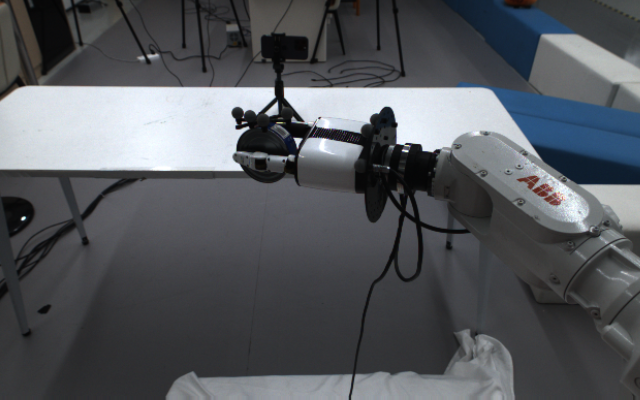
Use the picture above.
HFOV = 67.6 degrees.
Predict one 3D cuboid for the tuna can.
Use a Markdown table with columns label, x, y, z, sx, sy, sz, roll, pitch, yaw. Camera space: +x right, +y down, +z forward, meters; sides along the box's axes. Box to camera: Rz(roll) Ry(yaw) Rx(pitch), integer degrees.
| label | x | y | z | sx | sy | sz | roll | pitch | yaw |
| --- | --- | --- | --- | --- | --- | --- | --- | --- | --- |
| tuna can | -0.077 | -0.071 | 0.711 | 0.085 | 0.085 | 0.034 | 14 | 29 | 17 |
